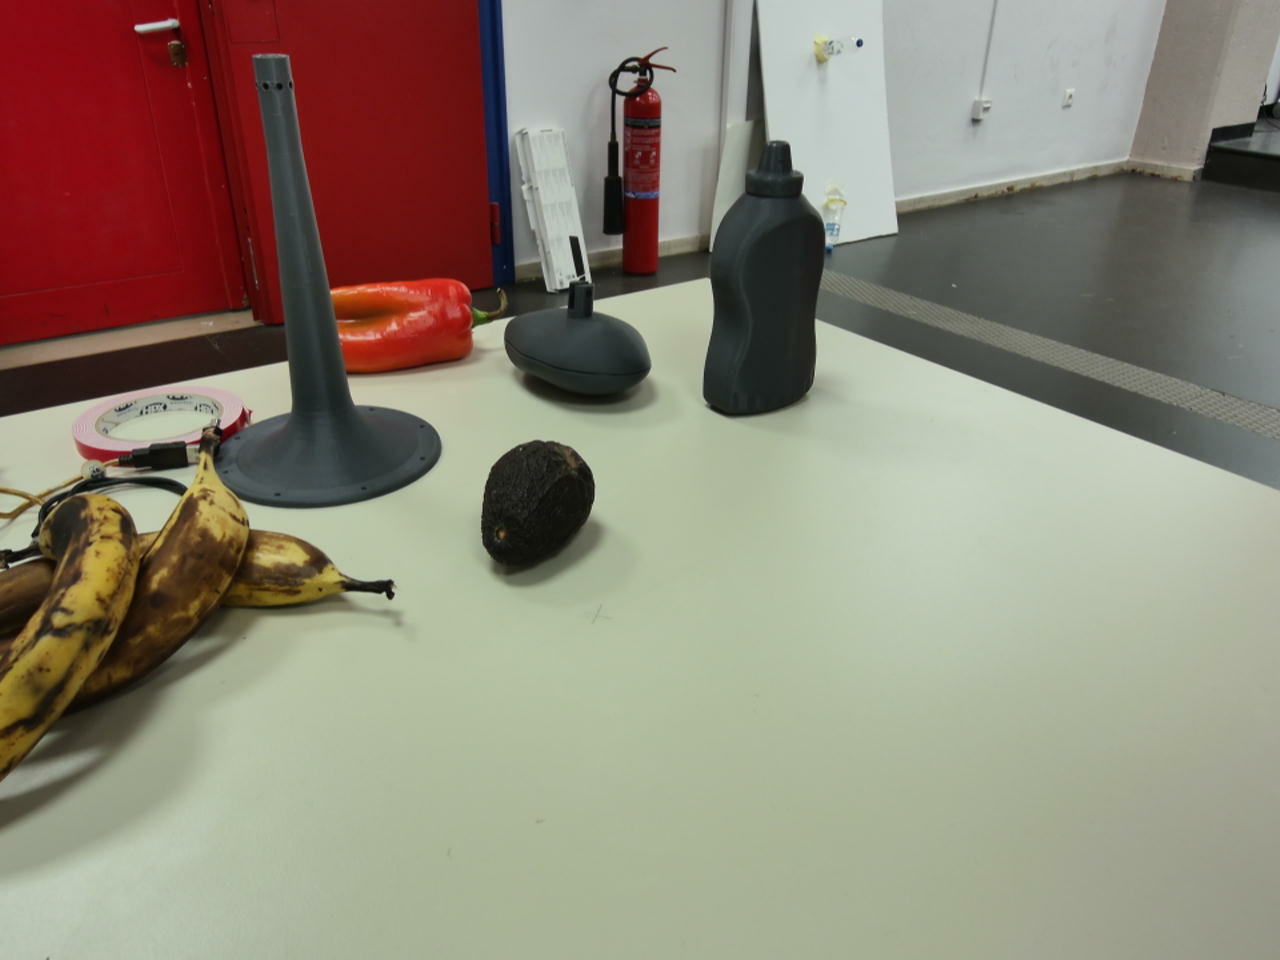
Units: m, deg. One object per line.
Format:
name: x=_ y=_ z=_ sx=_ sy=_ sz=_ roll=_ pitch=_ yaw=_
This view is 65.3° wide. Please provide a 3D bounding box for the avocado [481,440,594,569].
avocado: x=-0.063 y=0.012 z=0.579 sx=0.062 sy=0.062 sz=0.092 roll=14 pitch=30 yaw=26
